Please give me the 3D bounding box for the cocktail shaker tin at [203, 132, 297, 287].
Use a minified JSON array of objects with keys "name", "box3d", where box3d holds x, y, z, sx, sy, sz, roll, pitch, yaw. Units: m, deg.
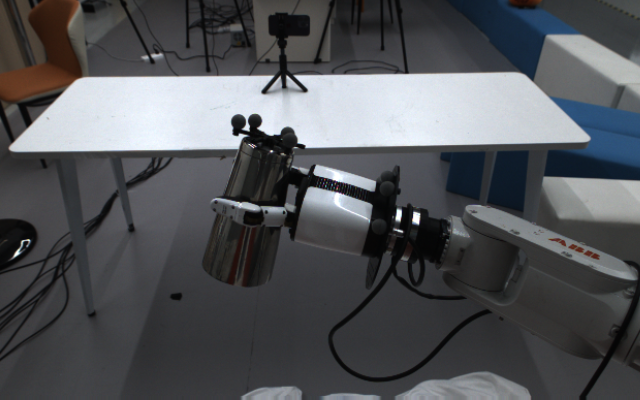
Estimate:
[{"name":"cocktail shaker tin","box3d":[-0.085,0.011,0.607,0.093,0.170,0.093,15,17,-5]}]
